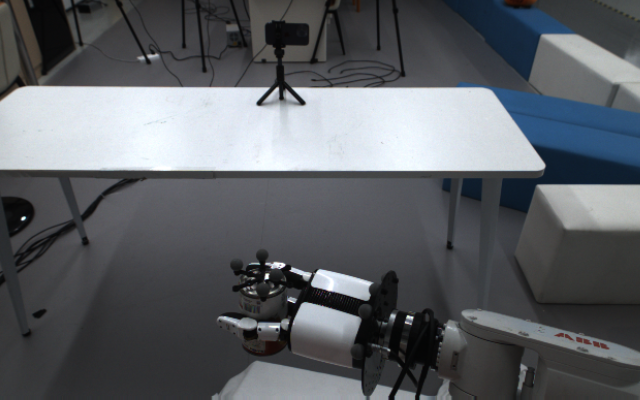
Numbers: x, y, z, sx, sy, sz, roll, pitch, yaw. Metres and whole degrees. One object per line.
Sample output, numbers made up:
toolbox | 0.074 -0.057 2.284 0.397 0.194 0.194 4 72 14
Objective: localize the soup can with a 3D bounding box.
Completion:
soup can | -0.076 0.155 0.667 0.067 0.101 0.067 1 26 0
